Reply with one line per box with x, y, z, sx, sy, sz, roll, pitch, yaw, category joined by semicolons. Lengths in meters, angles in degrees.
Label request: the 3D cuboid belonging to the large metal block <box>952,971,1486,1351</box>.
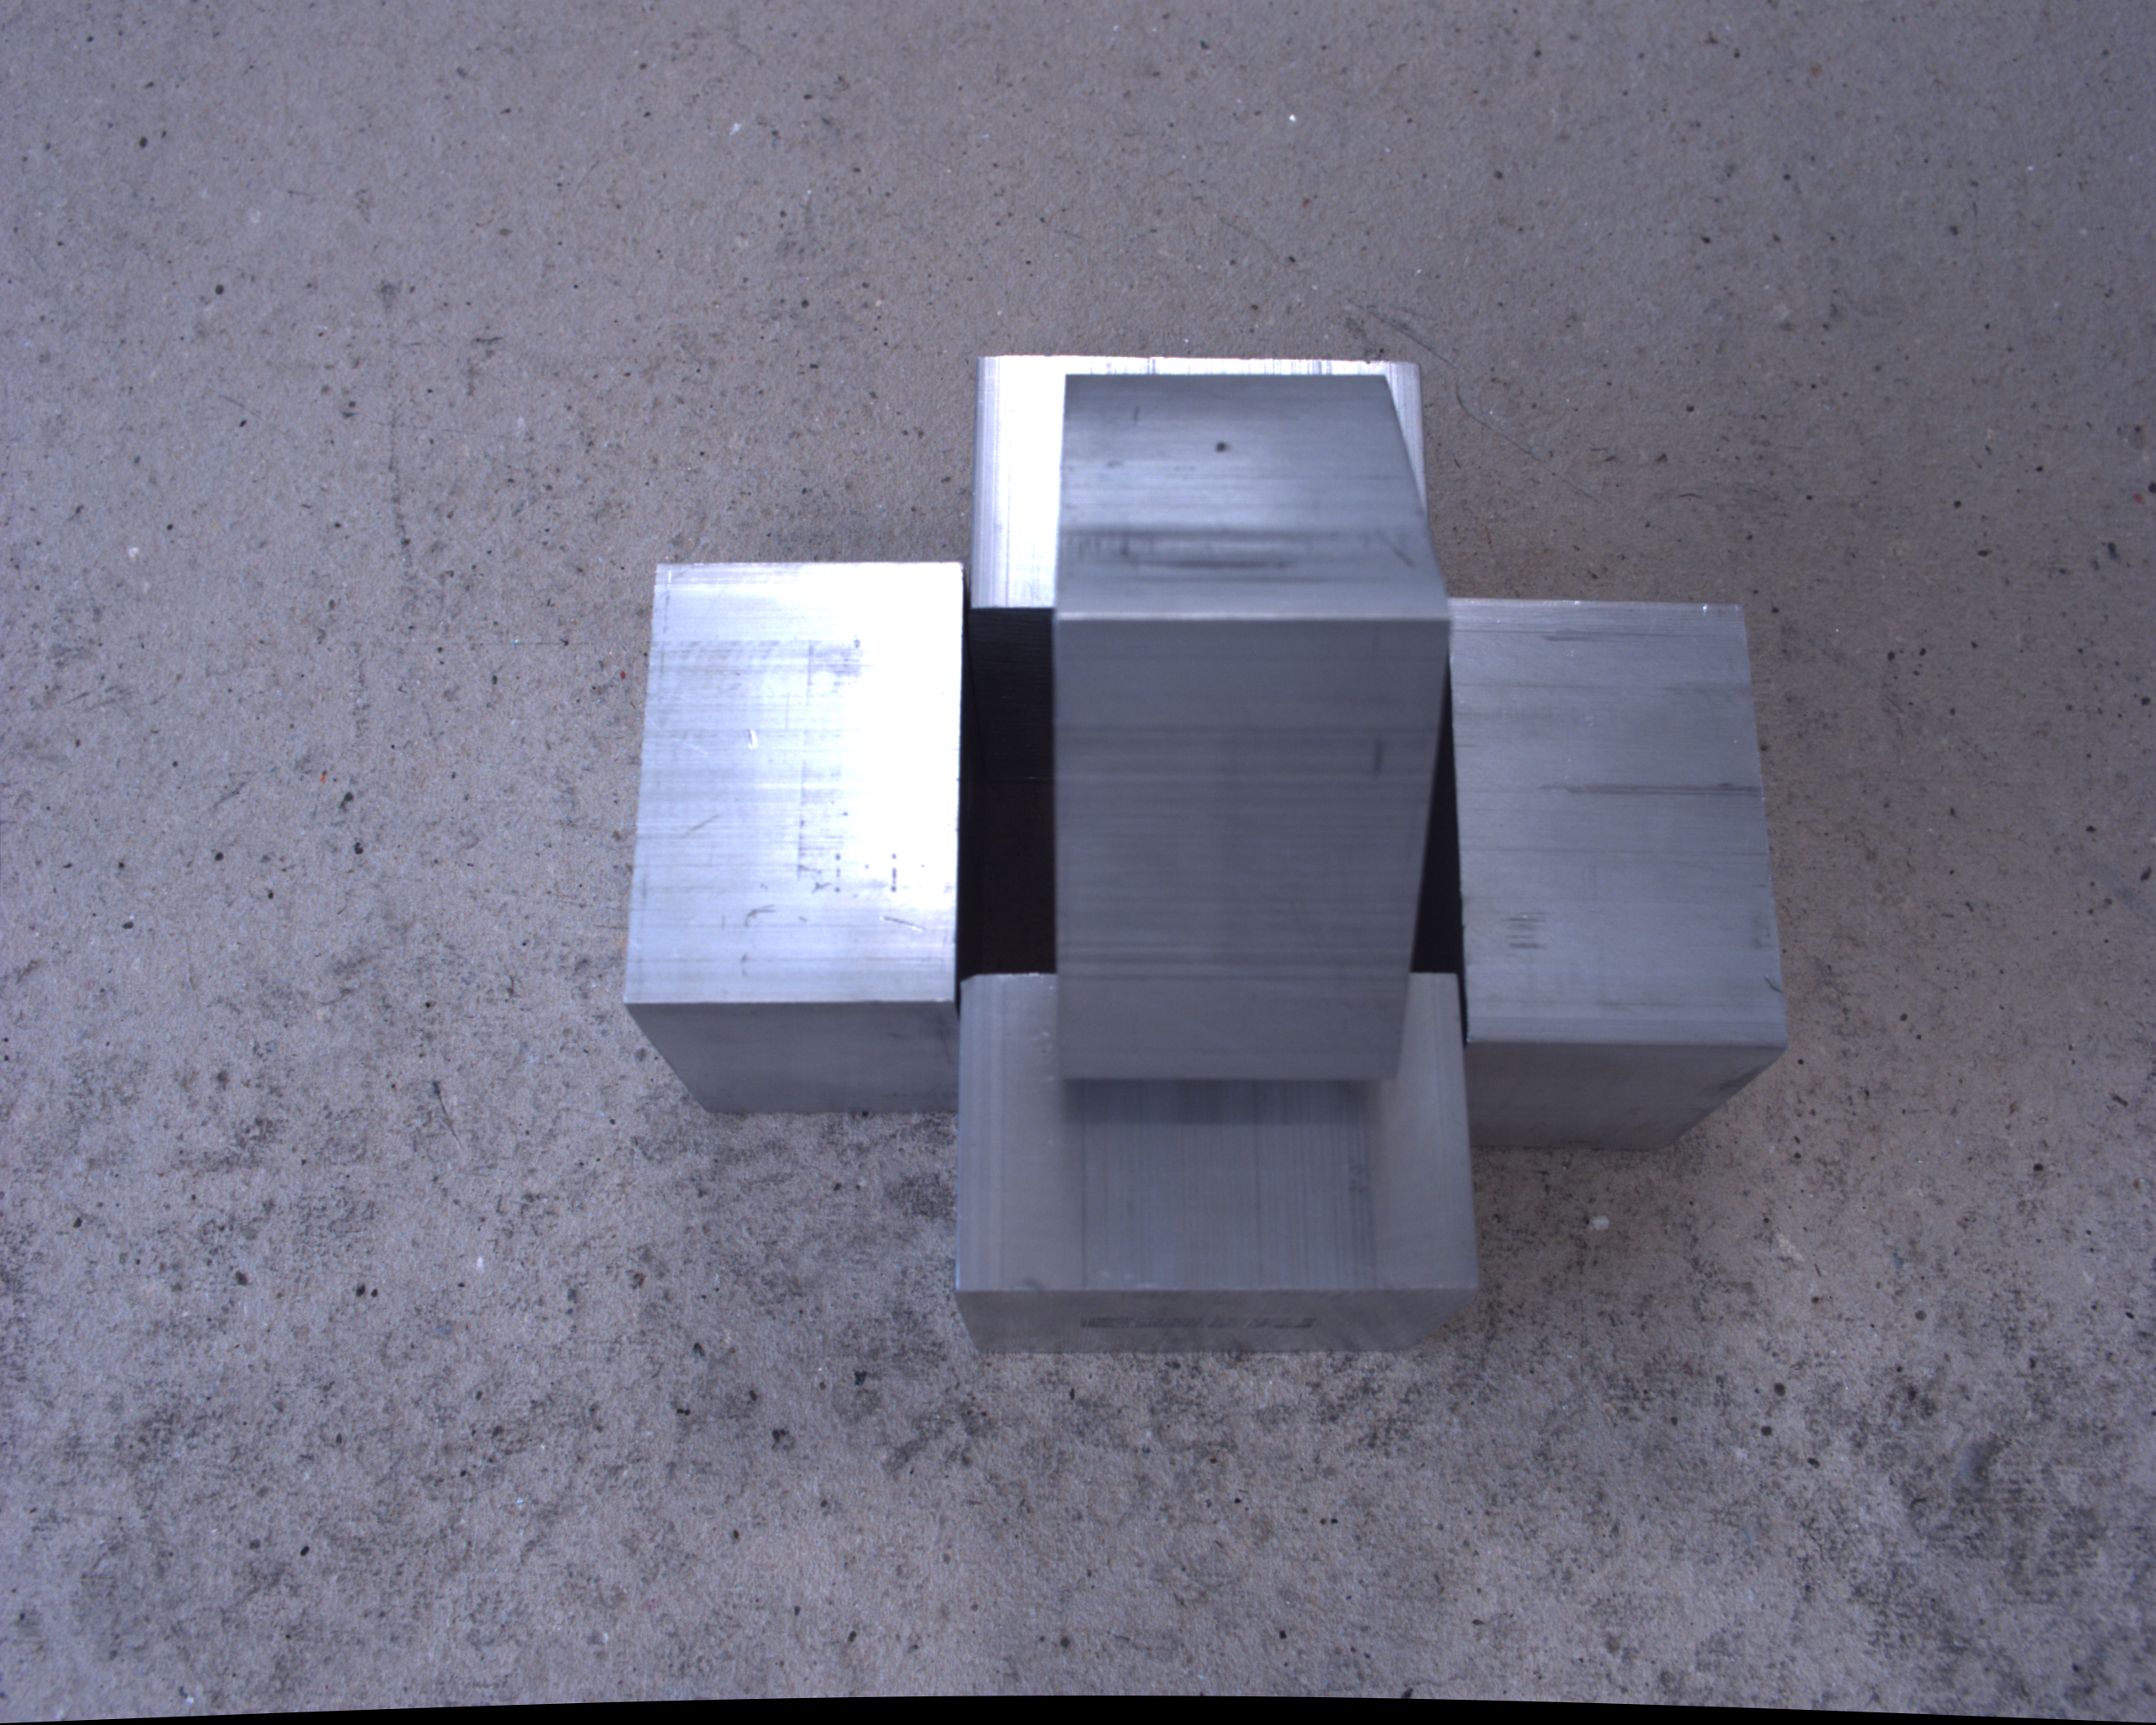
0.021;0.054;0.361;0.081;0.080;0.050;0;70;0;large metal block

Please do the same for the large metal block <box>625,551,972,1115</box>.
-0.046;-0.002;0.379;0.050;0.080;0.080;0;70;0;large metal block

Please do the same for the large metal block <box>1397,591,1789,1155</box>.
0.087;0.005;0.379;0.050;0.080;0.080;1;70;0;large metal block

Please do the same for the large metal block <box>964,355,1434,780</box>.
0.021;-0.053;0.400;0.080;0.080;0.050;1;71;0;large metal block

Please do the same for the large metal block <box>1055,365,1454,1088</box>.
0.023;-0.022;0.319;0.050;0.079;0.080;1;36;0;large metal block
